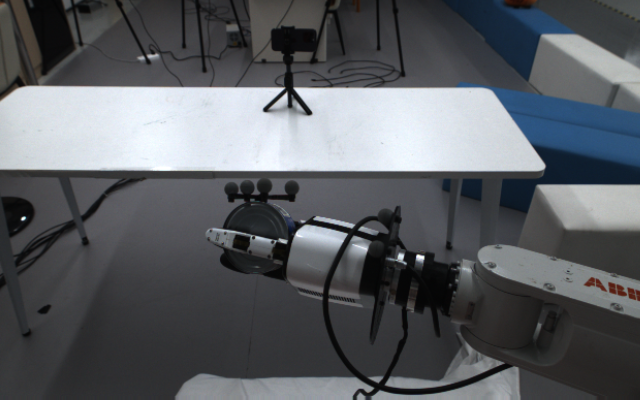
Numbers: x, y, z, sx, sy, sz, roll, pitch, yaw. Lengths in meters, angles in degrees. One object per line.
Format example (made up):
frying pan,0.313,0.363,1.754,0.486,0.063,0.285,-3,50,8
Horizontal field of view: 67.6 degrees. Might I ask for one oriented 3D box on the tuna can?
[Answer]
tuna can,-0.070,0.044,0.581,0.085,0.085,0.034,15,1,18
